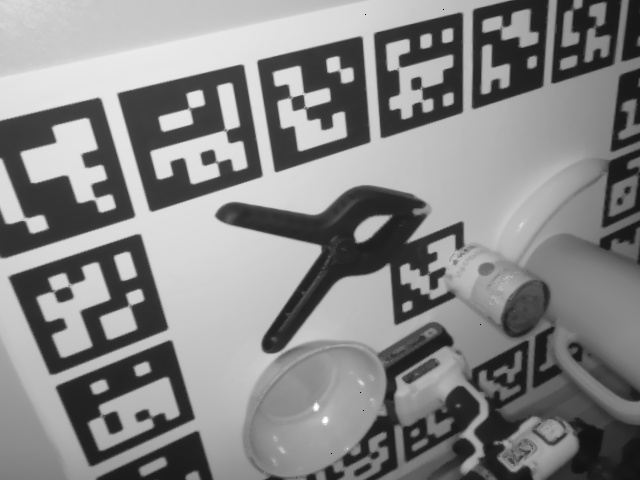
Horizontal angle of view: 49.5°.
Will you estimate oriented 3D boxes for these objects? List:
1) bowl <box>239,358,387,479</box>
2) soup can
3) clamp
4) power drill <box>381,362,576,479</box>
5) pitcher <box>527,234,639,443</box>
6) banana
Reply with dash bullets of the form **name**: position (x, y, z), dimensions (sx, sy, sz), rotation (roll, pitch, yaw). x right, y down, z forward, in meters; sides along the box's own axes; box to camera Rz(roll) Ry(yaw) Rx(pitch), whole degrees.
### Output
- **bowl**: position (-0.015, 0.178, 0.702), dimensions (0.164, 0.055, 0.160), rotation (-12, 115, -25)
- **soup can**: position (0.185, 0.065, 0.737), dimensions (0.069, 0.101, 0.067), rotation (-17, 128, -23)
- **clamp**: position (0.002, 0.022, 0.645), dimensions (0.205, 0.036, 0.165), rotation (-27, 118, -17)
- **power drill**: position (0.130, 0.216, 0.697), dimensions (0.186, 0.186, 0.057), rotation (-28, 123, -15)
- **pitcher**: position (0.335, 0.096, 0.748), dimensions (0.189, 0.241, 0.134), rotation (-44, 129, -4)
- **banana**: position (0.269, -0.039, 0.778), dimensions (0.198, 0.038, 0.074), rotation (-45, 134, -3)
